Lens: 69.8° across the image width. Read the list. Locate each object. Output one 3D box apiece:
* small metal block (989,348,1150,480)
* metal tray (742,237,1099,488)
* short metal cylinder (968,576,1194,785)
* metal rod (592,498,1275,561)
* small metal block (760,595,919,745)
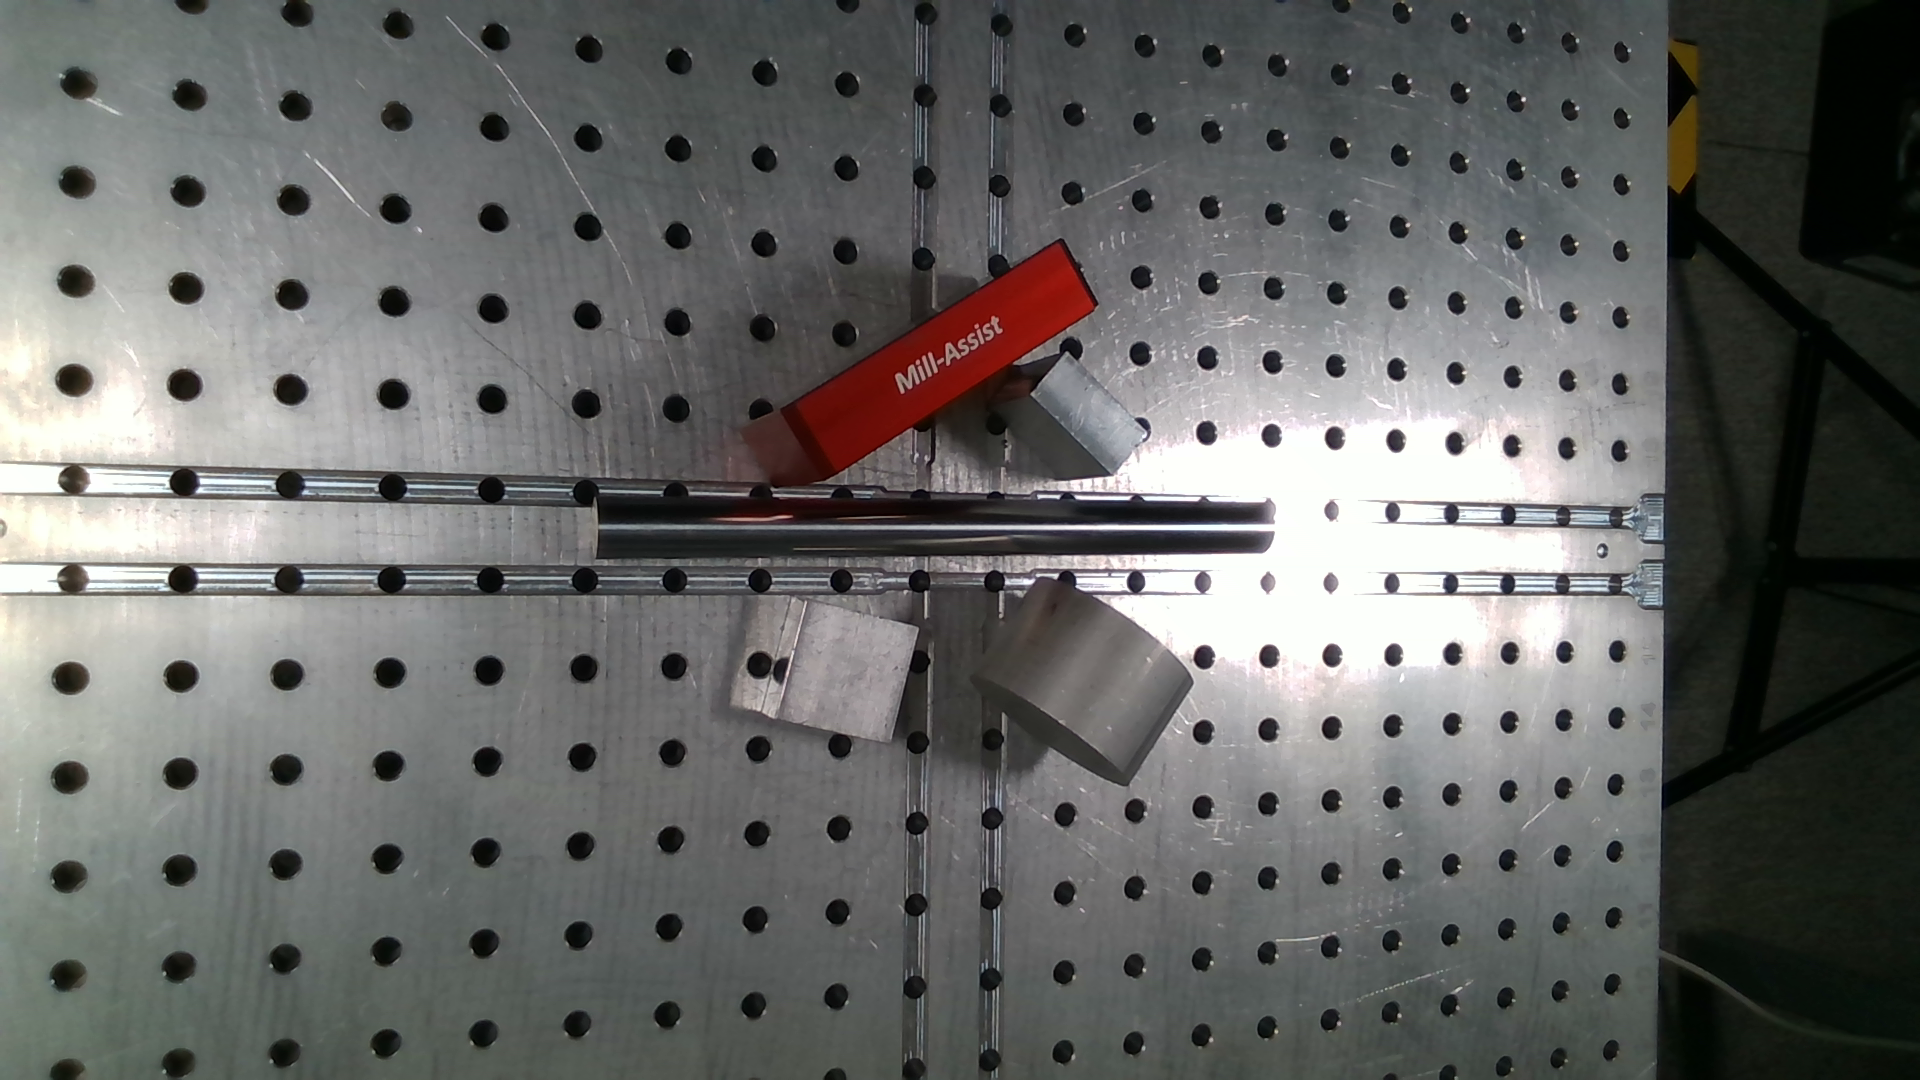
[{"bbox_3d":[0.046,-0.053,0.591,0.050,0.050,0.025,43,76,-15],"label":"small metal block"},{"bbox_3d":[-0.019,-0.068,0.546,0.130,0.090,0.030,-34,101,-17],"label":"metal tray"},{"bbox_3d":[0.050,0.059,0.578,0.080,0.080,0.050,39,77,-16],"label":"short metal cylinder"},{"bbox_3d":[-0.001,-0.005,0.587,0.300,0.025,0.025,0,90,-20],"label":"metal rod"},{"bbox_3d":[-0.050,0.053,0.571,0.050,0.025,0.050,16,85,-20],"label":"small metal block"}]
